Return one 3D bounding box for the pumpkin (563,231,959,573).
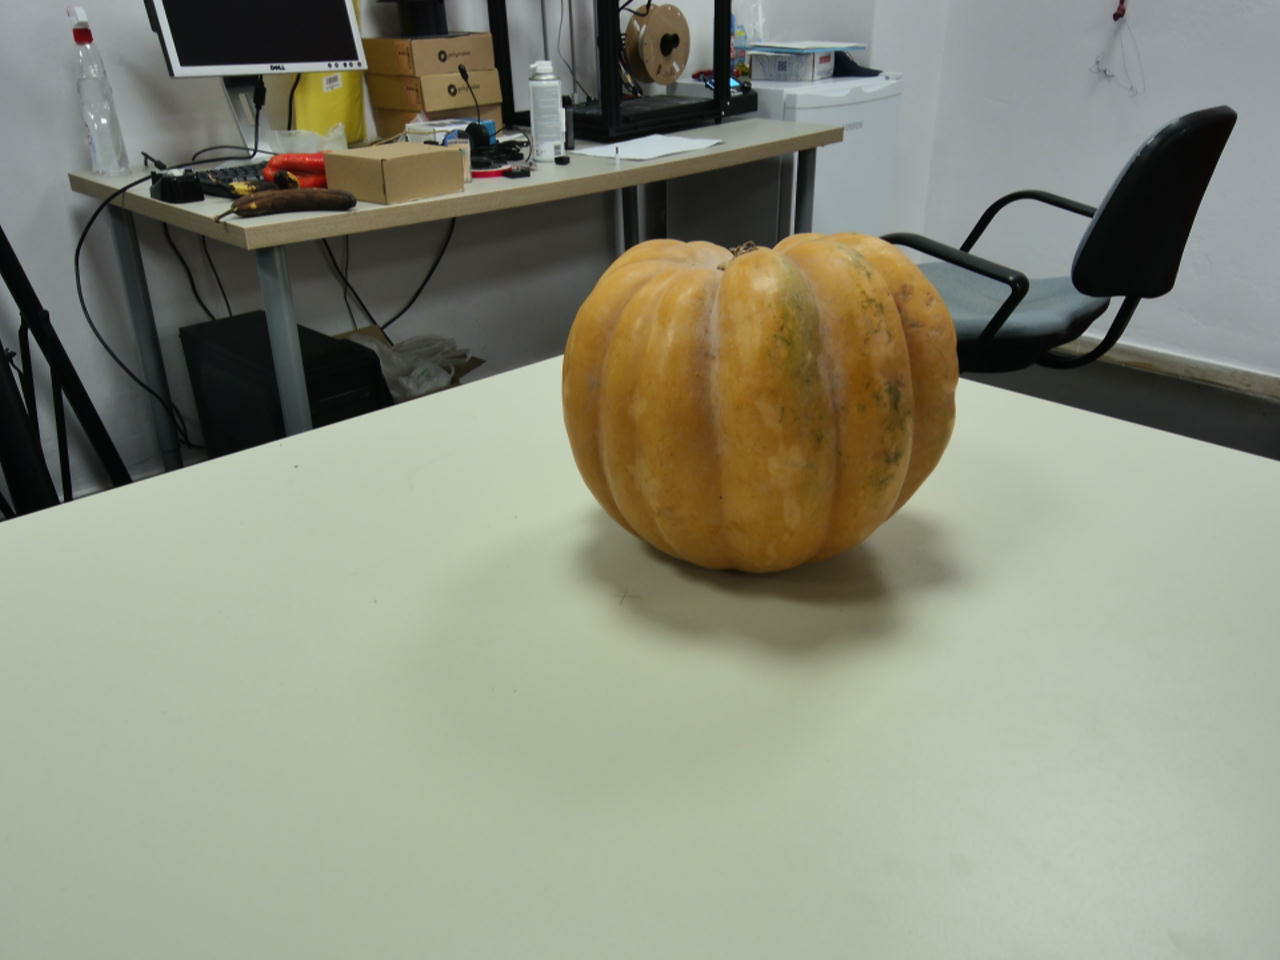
[{"bbox_3d":[0.067,-0.049,0.585,0.230,0.194,0.230,0,24,0],"label":"pumpkin"}]
